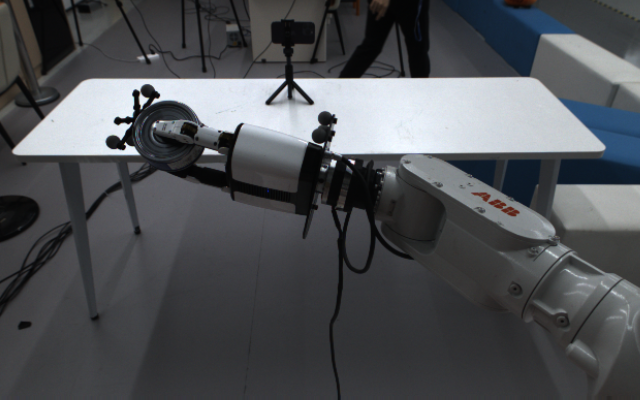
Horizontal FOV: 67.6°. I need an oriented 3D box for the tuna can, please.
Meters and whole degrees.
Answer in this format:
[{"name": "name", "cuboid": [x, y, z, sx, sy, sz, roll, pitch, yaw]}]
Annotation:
[{"name": "tuna can", "cuboid": [-0.189, -0.082, 0.611, 0.085, 0.034, 0.085, 0, 76, -1]}]
